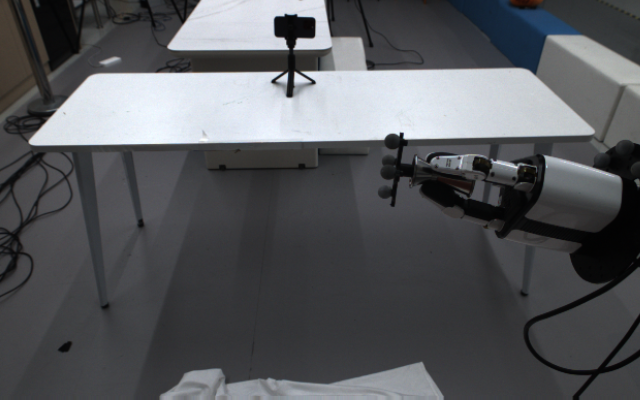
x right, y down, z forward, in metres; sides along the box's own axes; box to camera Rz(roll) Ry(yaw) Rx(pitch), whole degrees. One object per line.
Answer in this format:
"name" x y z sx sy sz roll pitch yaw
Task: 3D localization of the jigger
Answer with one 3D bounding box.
"jigger" 0.147 -0.034 0.560 0.071 0.043 0.043 6 35 4
